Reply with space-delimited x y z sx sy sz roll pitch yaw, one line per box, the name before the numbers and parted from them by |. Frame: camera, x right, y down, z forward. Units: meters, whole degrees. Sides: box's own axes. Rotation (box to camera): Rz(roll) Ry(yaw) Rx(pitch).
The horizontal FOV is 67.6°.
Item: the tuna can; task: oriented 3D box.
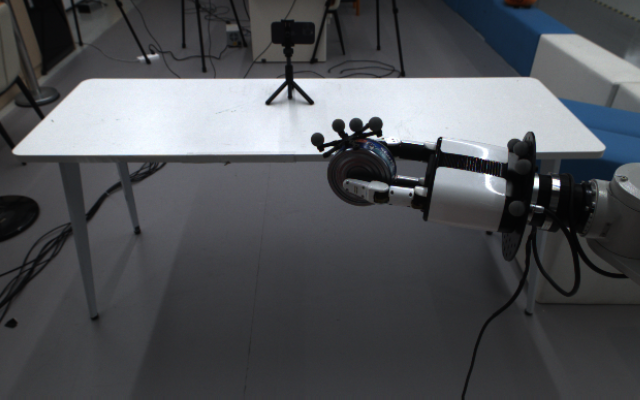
tuna can | 0.057 -0.030 0.622 0.085 0.085 0.034 11 34 13
